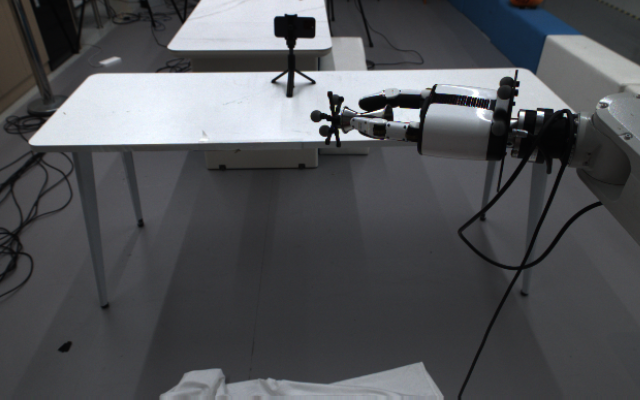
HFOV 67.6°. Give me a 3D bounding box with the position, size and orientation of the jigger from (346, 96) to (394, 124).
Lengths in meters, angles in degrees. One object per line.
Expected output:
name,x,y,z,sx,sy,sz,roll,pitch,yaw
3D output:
jigger,0.075,-0.124,0.706,0.071,0.043,0.043,2,32,25
